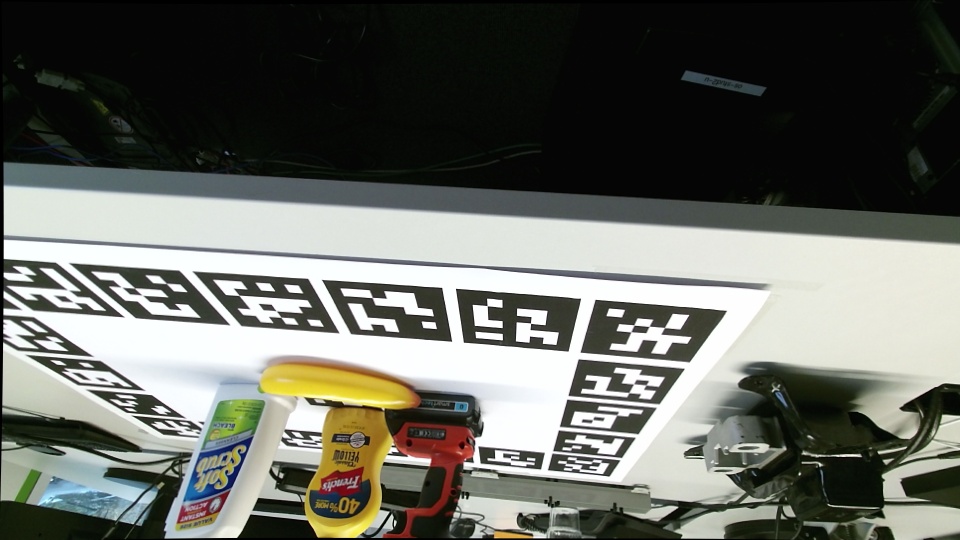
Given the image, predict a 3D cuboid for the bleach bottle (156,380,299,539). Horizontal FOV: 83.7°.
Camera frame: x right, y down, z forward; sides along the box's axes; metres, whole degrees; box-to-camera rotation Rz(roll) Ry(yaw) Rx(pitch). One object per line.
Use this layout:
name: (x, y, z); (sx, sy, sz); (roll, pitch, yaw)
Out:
bleach bottle: (-0.308, 0.259, 0.645); (0.103, 0.249, 0.068); (-1, 141, 13)

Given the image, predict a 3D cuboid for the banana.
banana: (-0.177, 0.141, 0.620); (0.198, 0.038, 0.074); (4, 139, 2)

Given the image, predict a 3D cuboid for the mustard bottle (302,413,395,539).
mustard bottle: (-0.174, 0.286, 0.691); (0.096, 0.190, 0.058); (5, 144, 6)

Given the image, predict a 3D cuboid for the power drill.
power drill: (-0.078, 0.271, 0.621); (0.185, 0.186, 0.057); (4, 150, 10)
